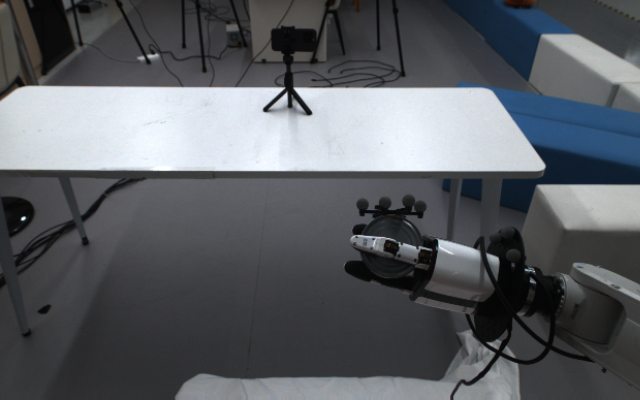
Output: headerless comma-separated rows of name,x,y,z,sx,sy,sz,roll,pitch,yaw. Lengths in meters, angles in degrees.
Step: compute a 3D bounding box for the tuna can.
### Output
tuna can,0.097,0.063,0.662,0.085,0.034,0.085,-1,76,4
